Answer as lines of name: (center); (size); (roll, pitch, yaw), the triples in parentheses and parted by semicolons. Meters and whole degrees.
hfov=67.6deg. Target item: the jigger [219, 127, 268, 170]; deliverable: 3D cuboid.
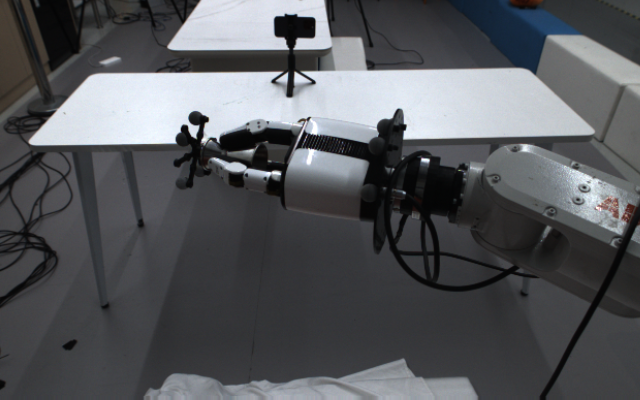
jigger: (-0.098, -0.053, 0.575); (0.071, 0.043, 0.043); (10, 35, 15)
